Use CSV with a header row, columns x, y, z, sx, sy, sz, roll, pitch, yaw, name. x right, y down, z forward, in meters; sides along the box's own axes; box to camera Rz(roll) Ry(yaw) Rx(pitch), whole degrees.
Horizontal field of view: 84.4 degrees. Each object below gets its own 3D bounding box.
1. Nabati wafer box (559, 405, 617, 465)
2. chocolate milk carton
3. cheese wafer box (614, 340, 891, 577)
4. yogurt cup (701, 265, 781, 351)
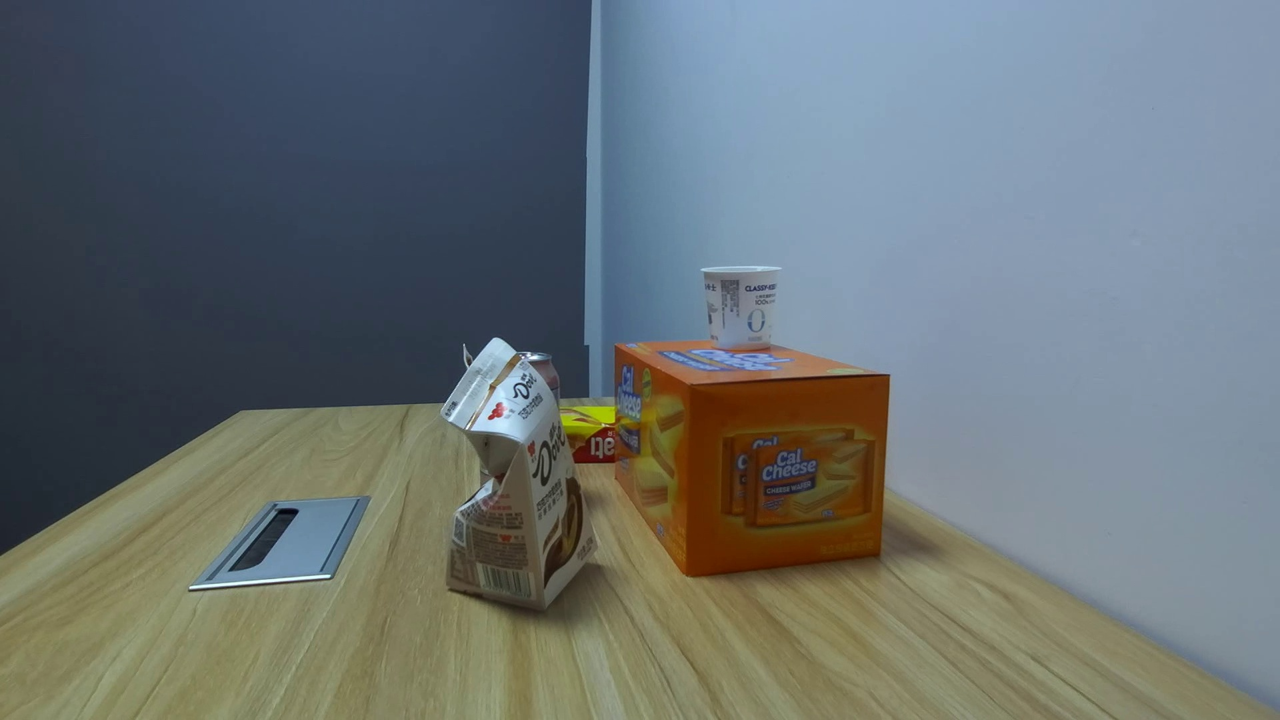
x,y,z,sx,sy,sz,roll,pitch,yaw,name
-0.063,0.077,0.747,0.203,0.042,0.096,-3,7,-3,Nabati wafer box
-0.081,0.070,0.435,0.076,0.155,0.089,-1,22,20,chocolate milk carton
0.077,0.061,0.565,0.148,0.129,0.221,-2,9,-13,cheese wafer box
0.089,-0.046,0.620,0.072,0.068,0.072,-1,10,0,yogurt cup
